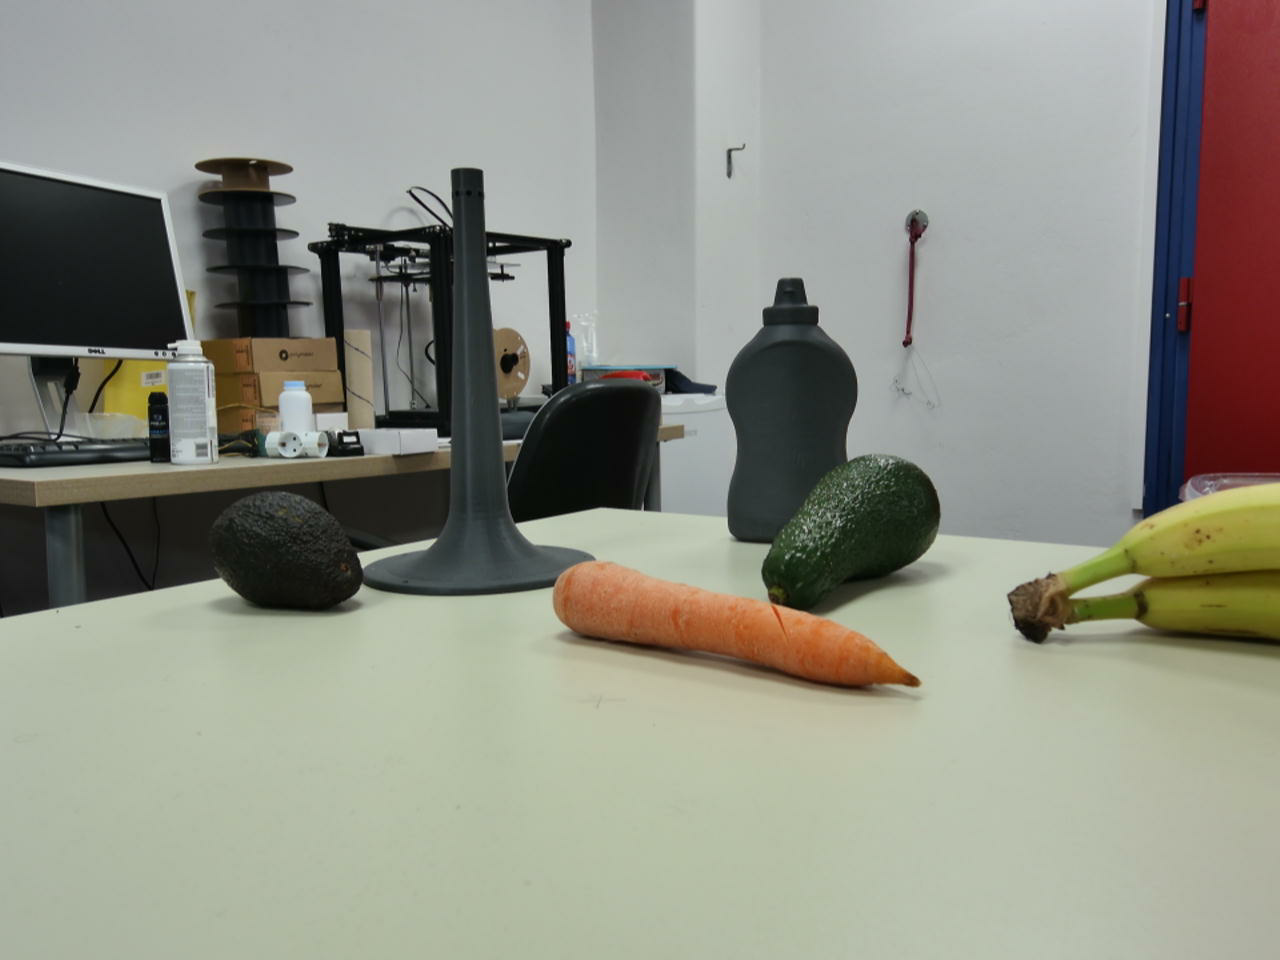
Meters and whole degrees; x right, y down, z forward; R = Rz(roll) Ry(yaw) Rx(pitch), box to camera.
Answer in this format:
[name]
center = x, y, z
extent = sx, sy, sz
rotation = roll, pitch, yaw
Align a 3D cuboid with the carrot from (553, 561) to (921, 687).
[carrot]
center = 0.038, 0.065, 0.471
extent = 0.196, 0.041, 0.039
rotation = 3, 5, 37
